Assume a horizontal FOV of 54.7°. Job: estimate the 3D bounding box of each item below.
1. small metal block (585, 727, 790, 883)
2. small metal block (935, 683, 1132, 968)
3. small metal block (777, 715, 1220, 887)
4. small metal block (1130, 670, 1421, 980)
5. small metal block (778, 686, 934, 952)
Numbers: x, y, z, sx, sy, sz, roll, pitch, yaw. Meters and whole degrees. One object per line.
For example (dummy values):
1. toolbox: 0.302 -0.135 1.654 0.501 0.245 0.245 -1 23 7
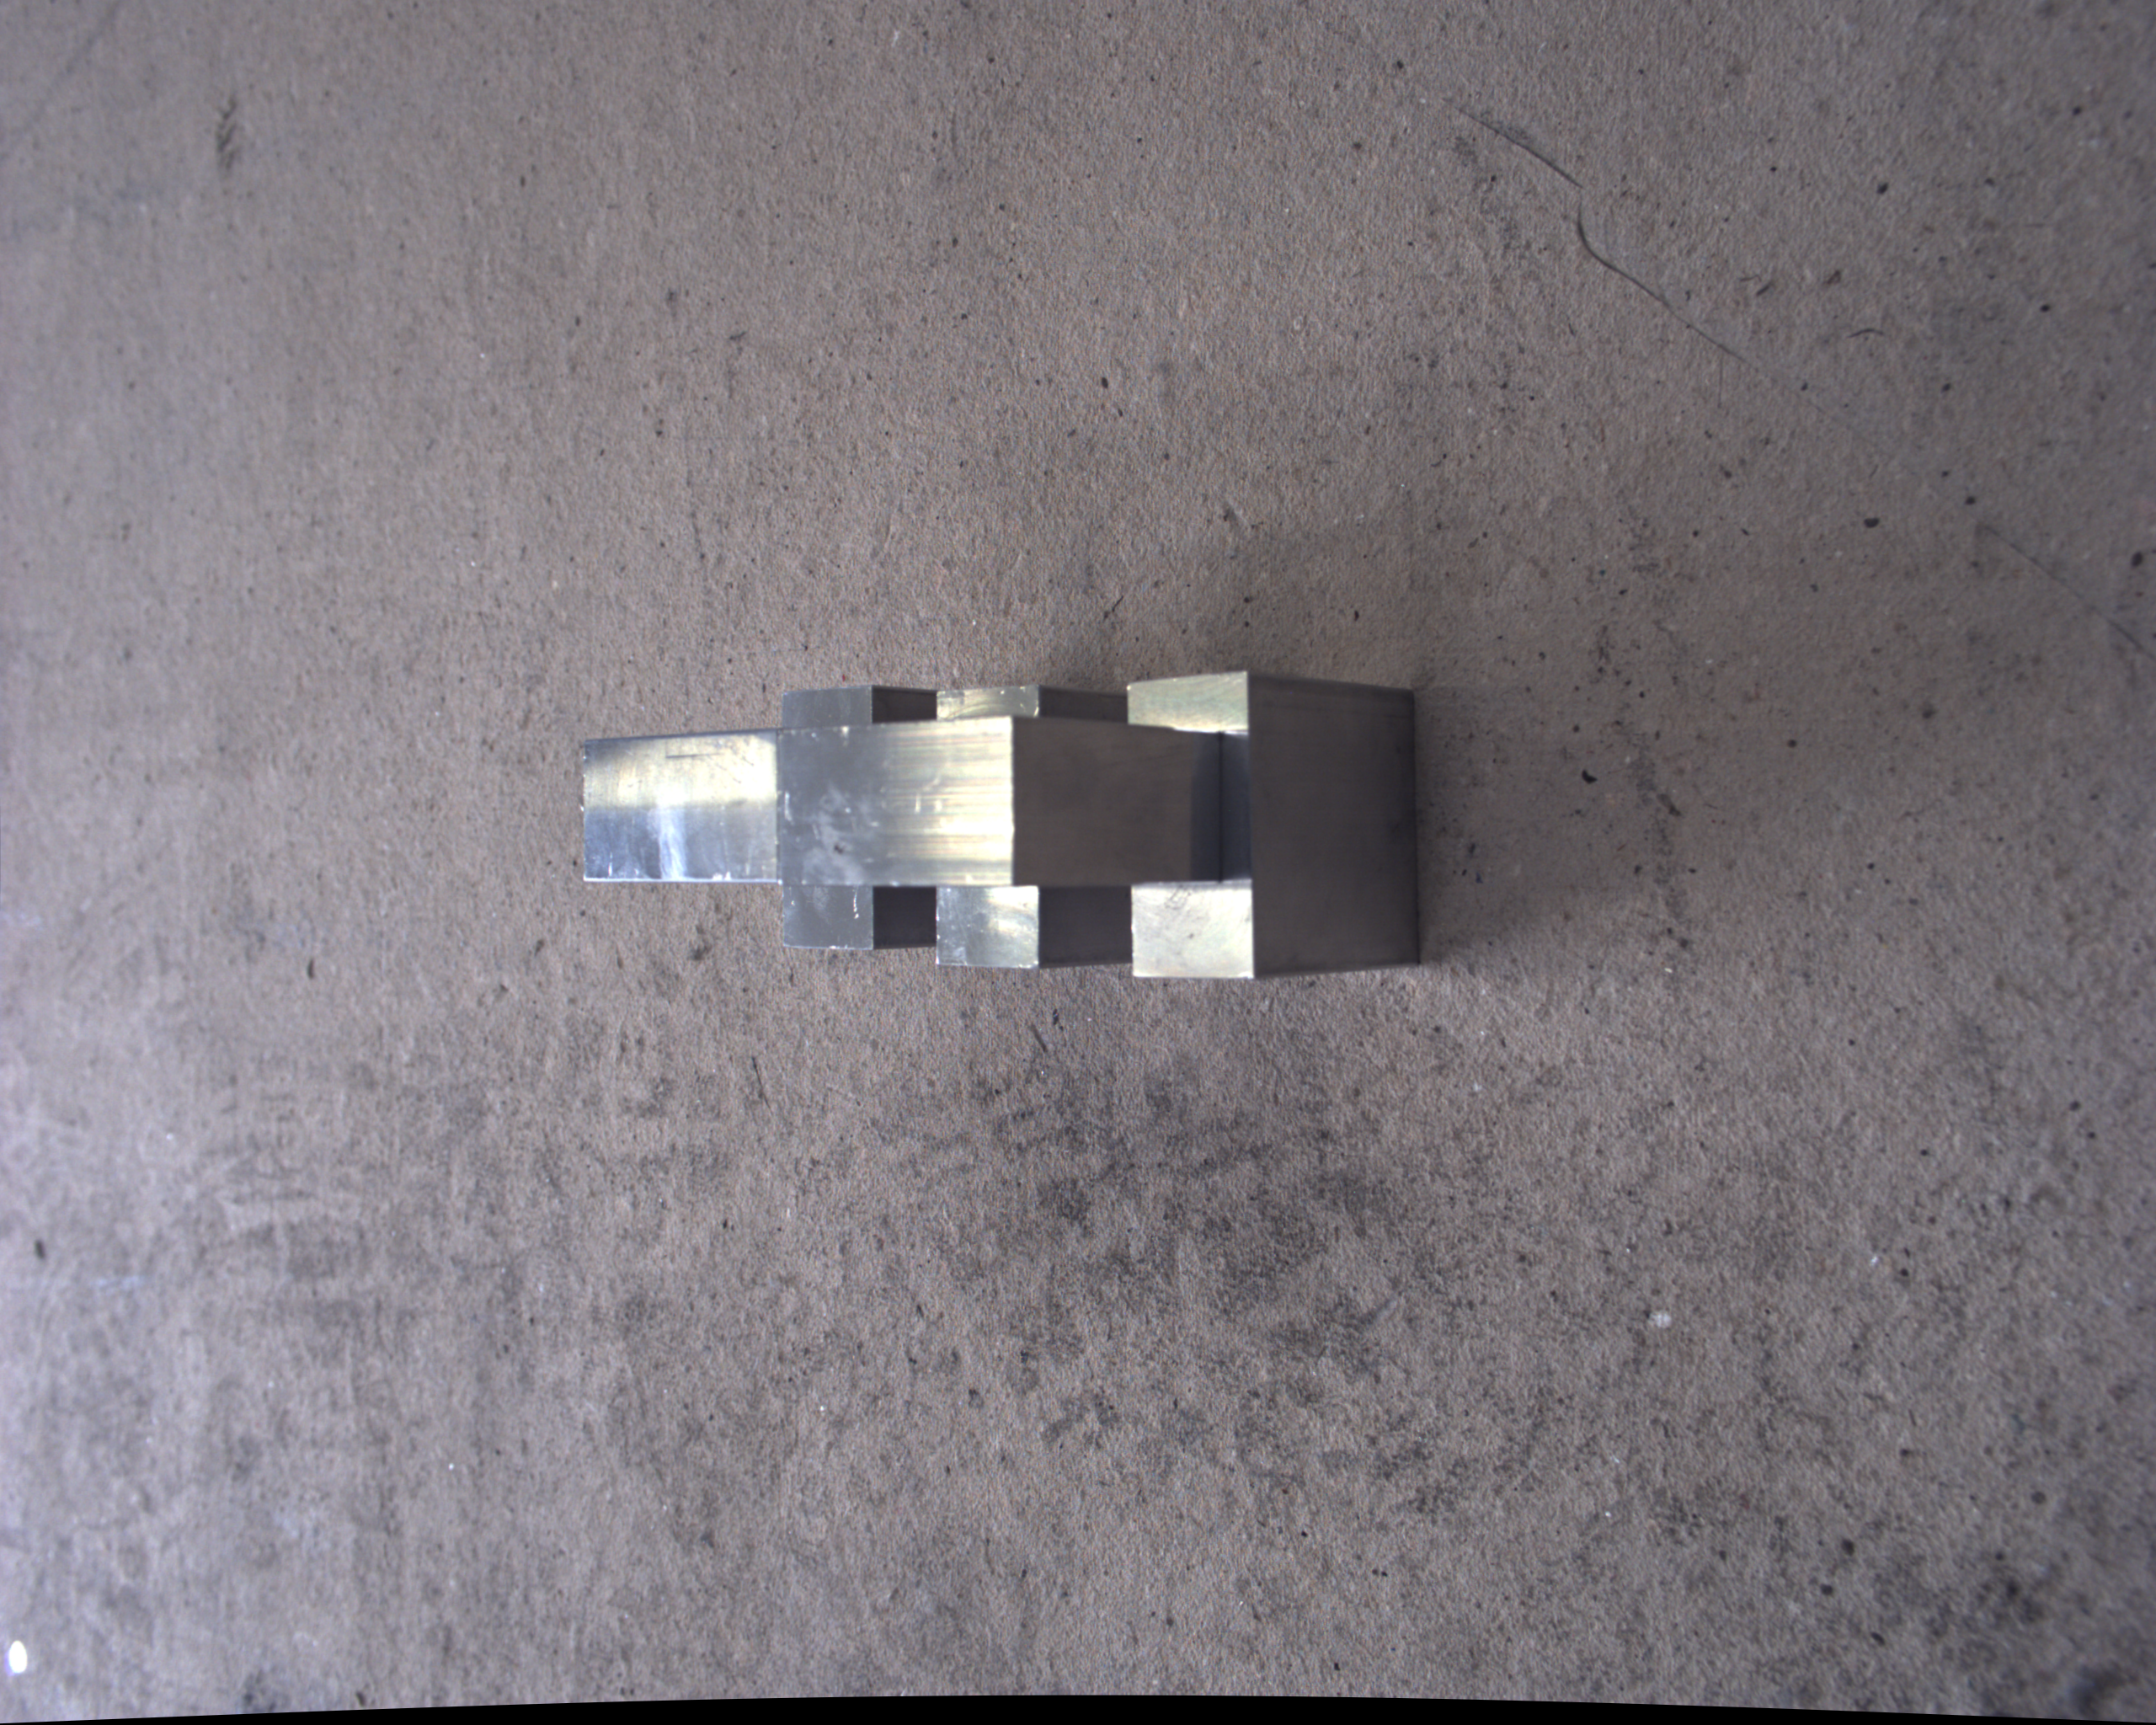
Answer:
1. small metal block: -0.051 -0.009 0.368 0.050 0.050 0.025 0 90 40
2. small metal block: 0.000 -0.006 0.391 0.025 0.050 0.050 -2 89 41
3. small metal block: -0.012 -0.009 0.335 0.050 0.050 0.025 0 90 40
4. small metal block: 0.035 -0.006 0.362 0.025 0.050 0.050 -2 89 41
5. small metal block: -0.032 -0.008 0.416 0.025 0.050 0.050 -1 89 41
